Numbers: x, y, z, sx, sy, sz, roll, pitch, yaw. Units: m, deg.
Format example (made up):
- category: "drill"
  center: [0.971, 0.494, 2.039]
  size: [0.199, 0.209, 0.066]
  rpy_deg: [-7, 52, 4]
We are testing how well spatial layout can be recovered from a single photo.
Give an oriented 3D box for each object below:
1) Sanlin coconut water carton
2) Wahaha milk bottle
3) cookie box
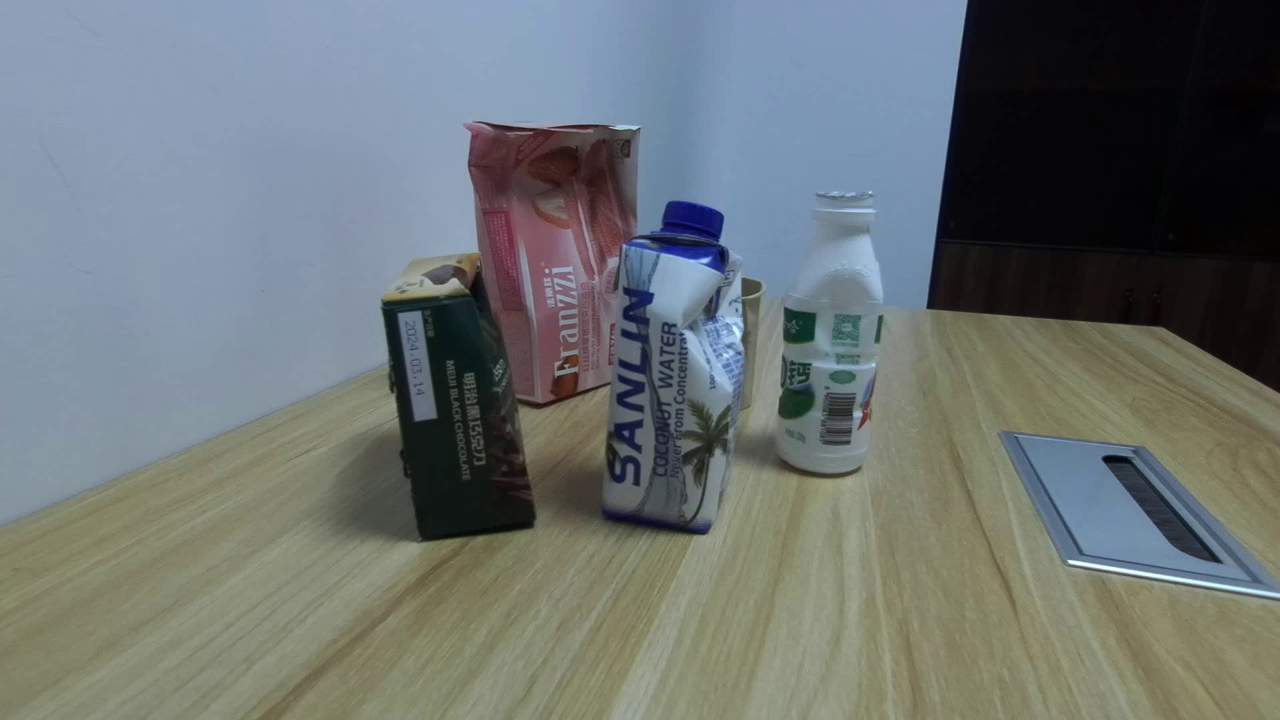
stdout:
- category: "Sanlin coconut water carton"
  center: [0.018, 0.003, 0.330]
  size: [0.060, 0.143, 0.070]
  rpy_deg: [6, 13, 19]
- category: "Wahaha milk bottle"
  center: [0.102, -0.015, 0.381]
  size: [0.055, 0.149, 0.055]
  rpy_deg: [0, 16, 0]
- category: "cookie box"
  center: [-0.055, -0.067, 0.488]
  size: [0.055, 0.184, 0.119]
  rpy_deg: [18, 25, 42]
